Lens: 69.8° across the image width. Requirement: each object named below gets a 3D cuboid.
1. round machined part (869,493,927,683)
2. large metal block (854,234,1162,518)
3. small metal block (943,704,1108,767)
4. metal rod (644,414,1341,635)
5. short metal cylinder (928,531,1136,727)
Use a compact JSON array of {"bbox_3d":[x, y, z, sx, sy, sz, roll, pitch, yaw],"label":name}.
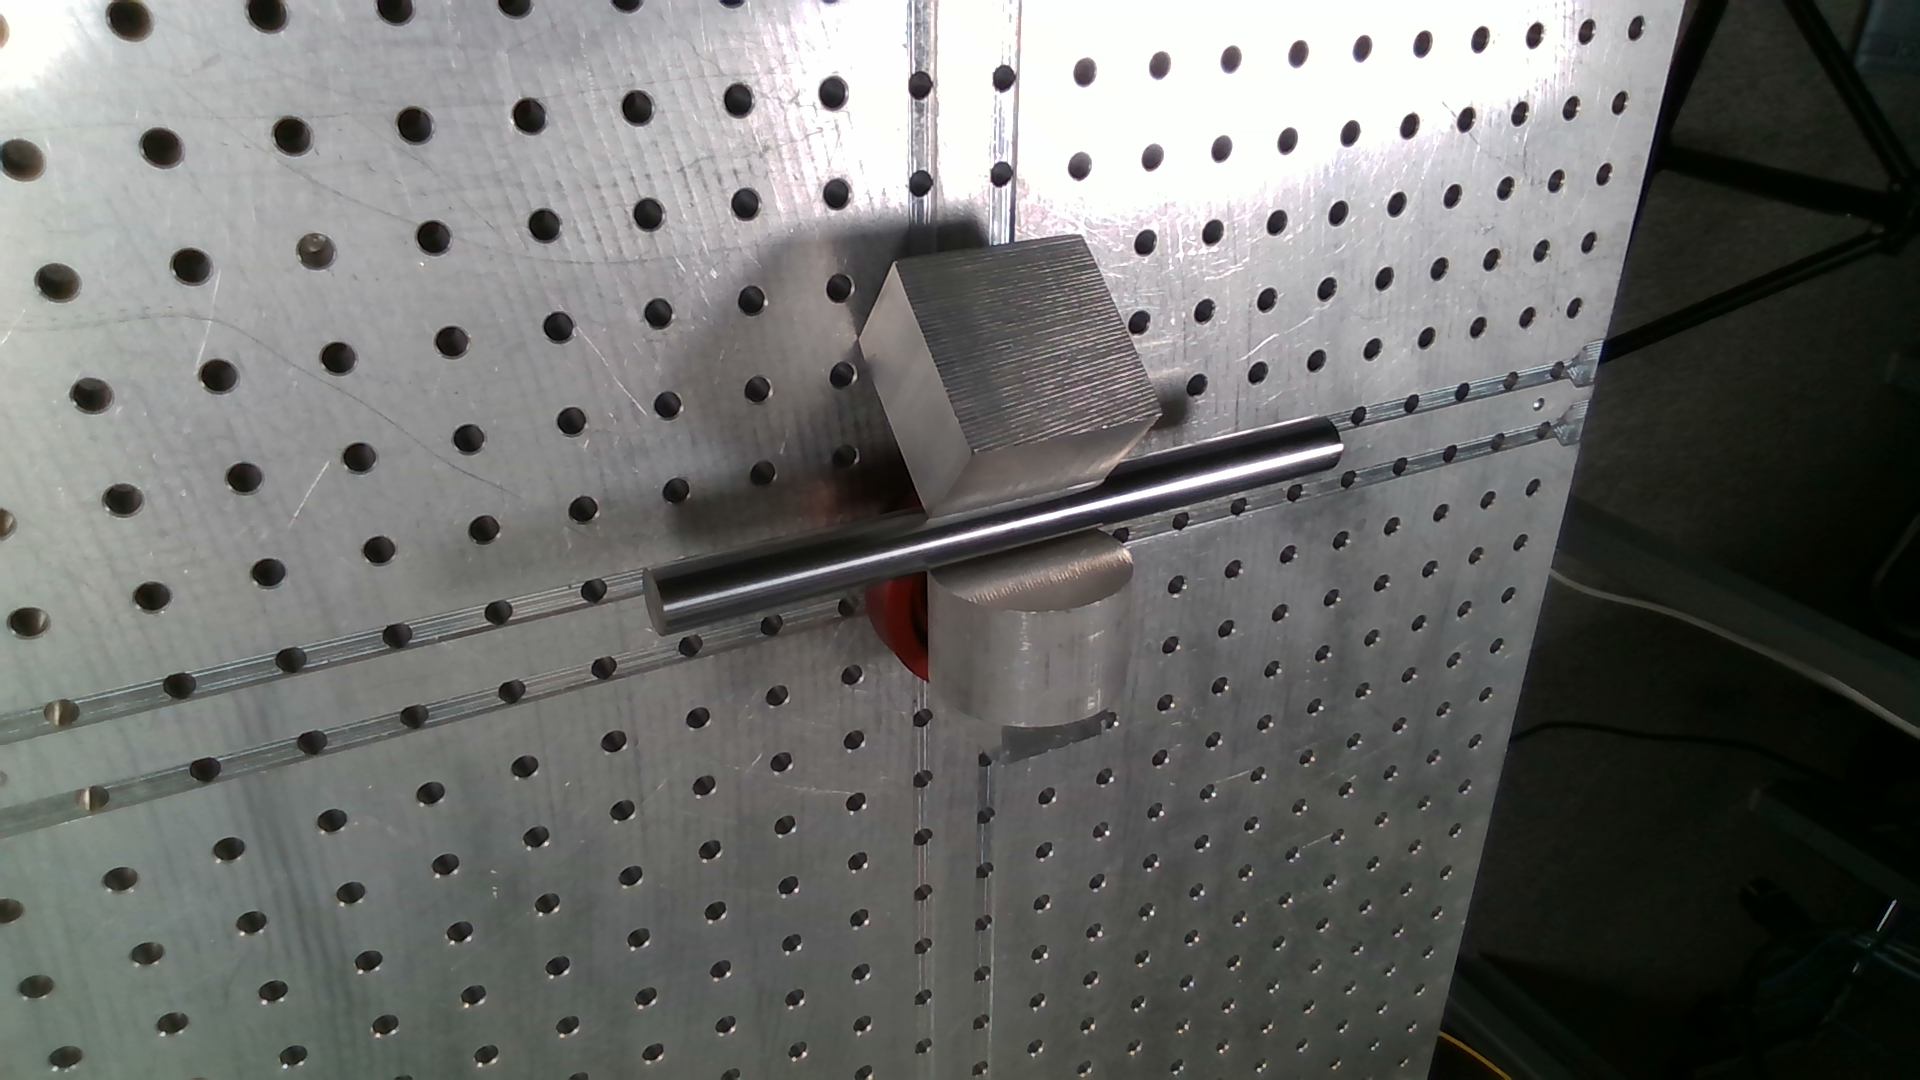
[{"bbox_3d":[0.004,0.011,0.579,0.098,0.042,0.098,-14,122,-25],"label":"round machined part"},{"bbox_3d":[0.016,-0.062,0.517,0.080,0.080,0.050,-14,162,-25],"label":"large metal block"},{"bbox_3d":[0.026,0.062,0.563,0.050,0.050,0.025,-13,121,-25],"label":"small metal block"},{"bbox_3d":[0.026,-0.011,0.540,0.300,0.025,0.025,-14,121,-25],"label":"metal rod"},{"bbox_3d":[0.027,0.030,0.542,0.080,0.080,0.050,-14,121,-25],"label":"short metal cylinder"}]
